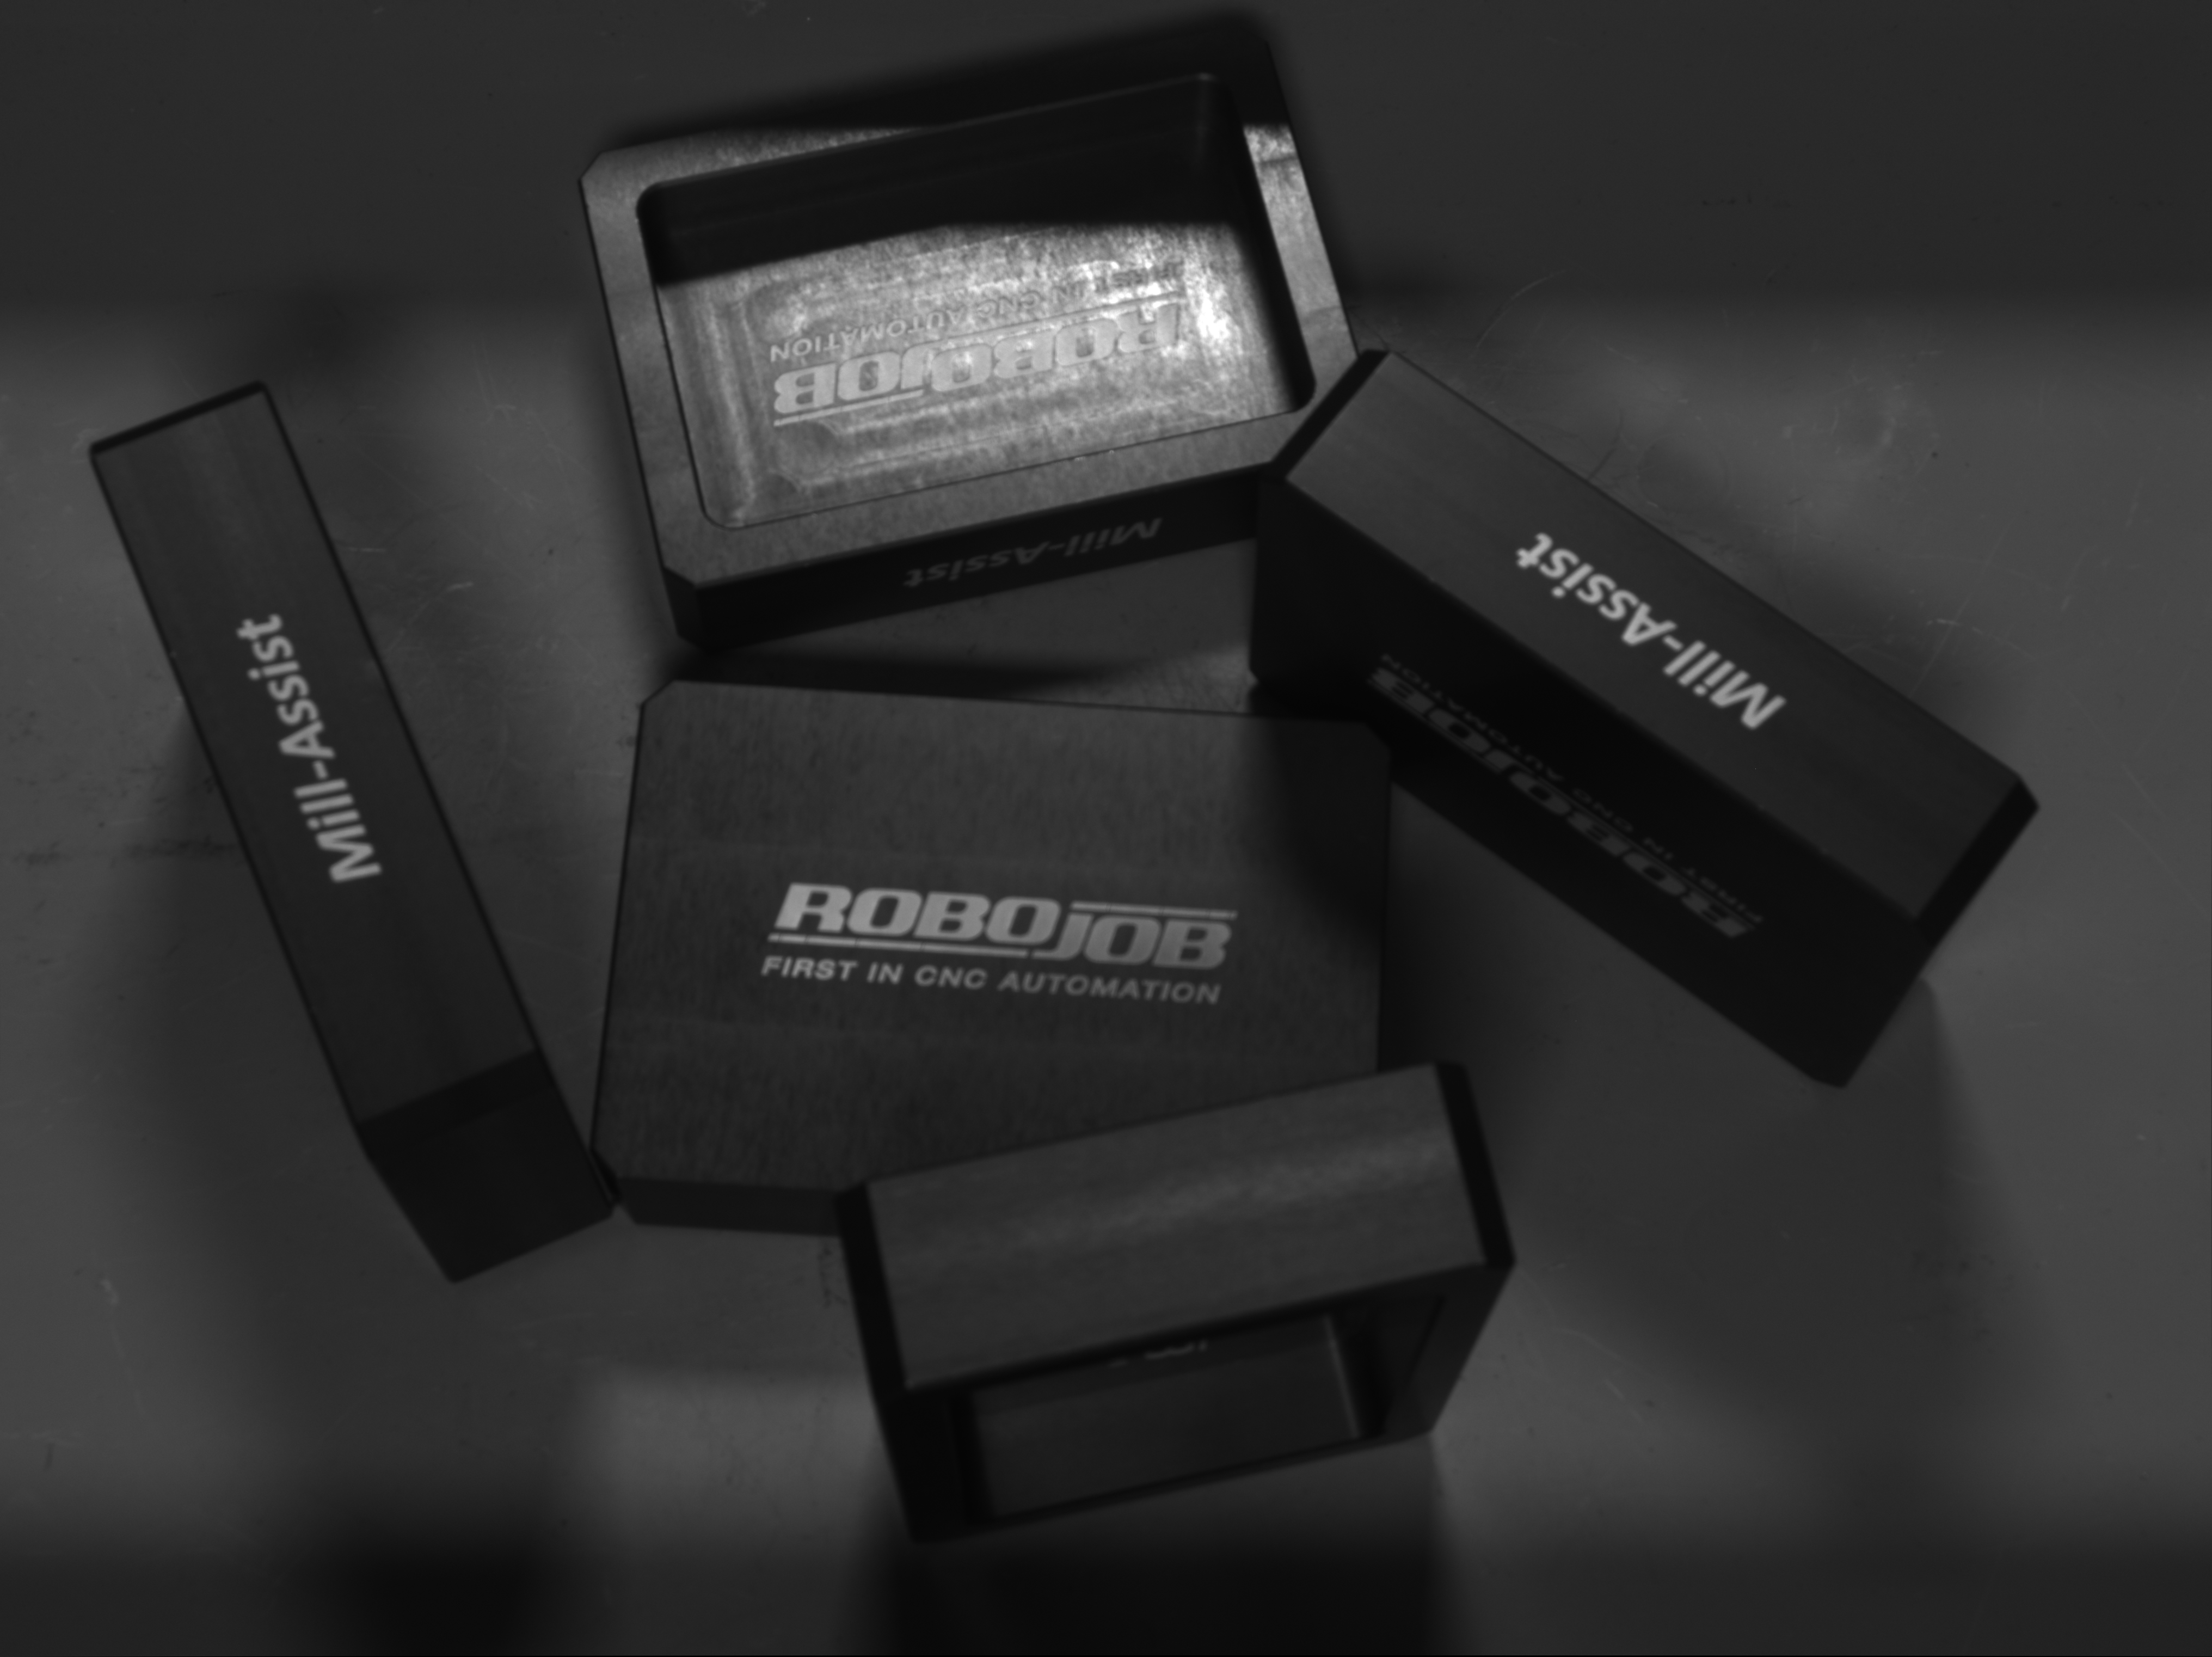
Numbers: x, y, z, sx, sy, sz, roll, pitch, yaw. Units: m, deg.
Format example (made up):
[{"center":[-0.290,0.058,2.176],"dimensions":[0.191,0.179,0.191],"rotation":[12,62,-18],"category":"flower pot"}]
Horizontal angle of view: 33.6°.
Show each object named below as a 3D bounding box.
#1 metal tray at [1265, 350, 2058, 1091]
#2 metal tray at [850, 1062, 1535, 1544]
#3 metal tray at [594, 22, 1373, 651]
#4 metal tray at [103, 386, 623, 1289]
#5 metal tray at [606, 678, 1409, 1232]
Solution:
[{"center":[0.088,-0.016,0.614],"dimensions":[0.130,0.090,0.030],"rotation":[36,75,12],"category":"metal tray"},{"center":[0.011,0.076,0.558],"dimensions":[0.090,0.130,0.030],"rotation":[-12,70,-5],"category":"metal tray"},{"center":[-0.021,-0.091,0.674],"dimensions":[0.130,0.030,0.090],"rotation":[-12,70,-5],"category":"metal tray"},{"center":[-0.122,0.003,0.607],"dimensions":[0.030,0.090,0.130],"rotation":[-23,72,-9],"category":"metal tray"},{"center":[-0.015,0.024,0.630],"dimensions":[0.130,0.030,0.090],"rotation":[3,70,1],"category":"metal tray"}]
